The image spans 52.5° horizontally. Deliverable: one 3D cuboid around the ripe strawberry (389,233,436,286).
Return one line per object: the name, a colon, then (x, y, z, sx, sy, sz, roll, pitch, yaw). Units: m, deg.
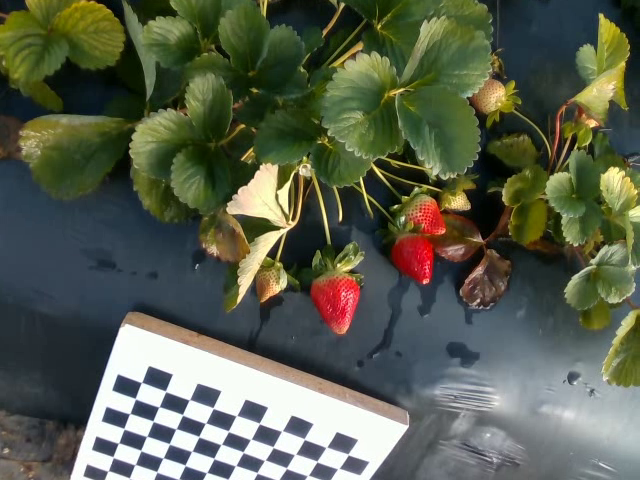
ripe strawberry: (0.090, 0.021, 0.615, 0.044, 0.055, 0.041, -34, -28, 23)

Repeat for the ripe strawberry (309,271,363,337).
ripe strawberry: (0.015, 0.059, 0.598, 0.050, 0.065, 0.050, -11, -26, 14)
